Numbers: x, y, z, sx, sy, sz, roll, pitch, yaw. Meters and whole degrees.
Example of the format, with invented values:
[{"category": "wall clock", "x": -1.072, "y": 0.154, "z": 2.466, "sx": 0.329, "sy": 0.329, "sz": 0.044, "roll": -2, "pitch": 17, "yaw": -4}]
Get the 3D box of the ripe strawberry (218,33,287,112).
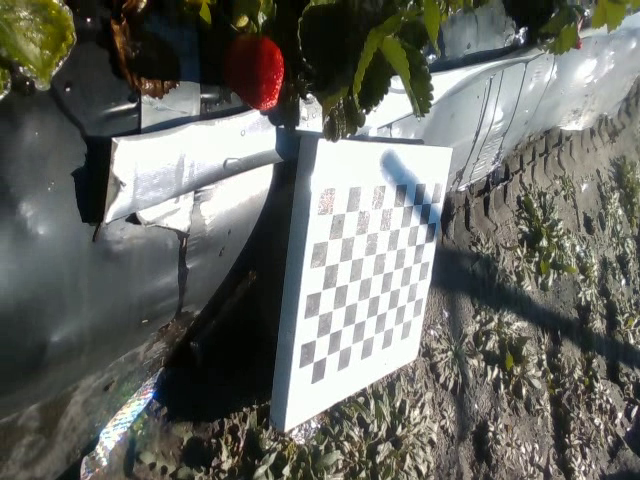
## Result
[{"category": "ripe strawberry", "x": -0.043, "y": -0.120, "z": 0.486, "sx": 0.057, "sy": 0.065, "sz": 0.062, "roll": -26, "pitch": -33, "yaw": 10}]
